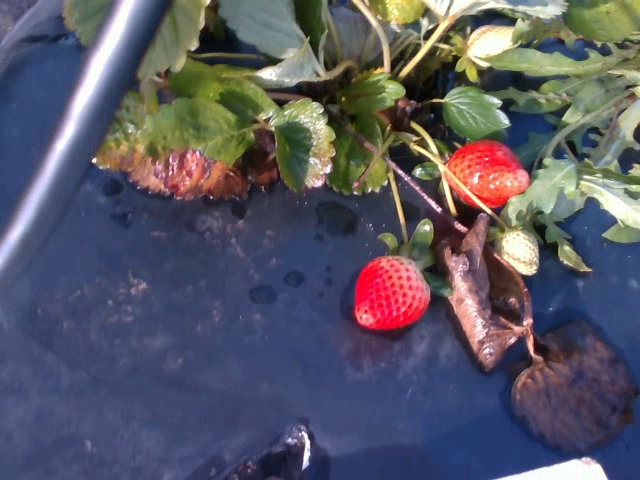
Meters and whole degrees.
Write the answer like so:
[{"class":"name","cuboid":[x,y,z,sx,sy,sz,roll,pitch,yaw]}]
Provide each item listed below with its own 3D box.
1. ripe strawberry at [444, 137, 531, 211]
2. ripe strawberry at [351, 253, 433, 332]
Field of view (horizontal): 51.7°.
[{"class":"ripe strawberry","cuboid":[0.084,-0.035,0.310,0.039,0.032,0.048,-24,16,-19]},{"class":"ripe strawberry","cuboid":[0.028,0.023,0.269,0.035,0.030,0.043,32,55,20]}]
